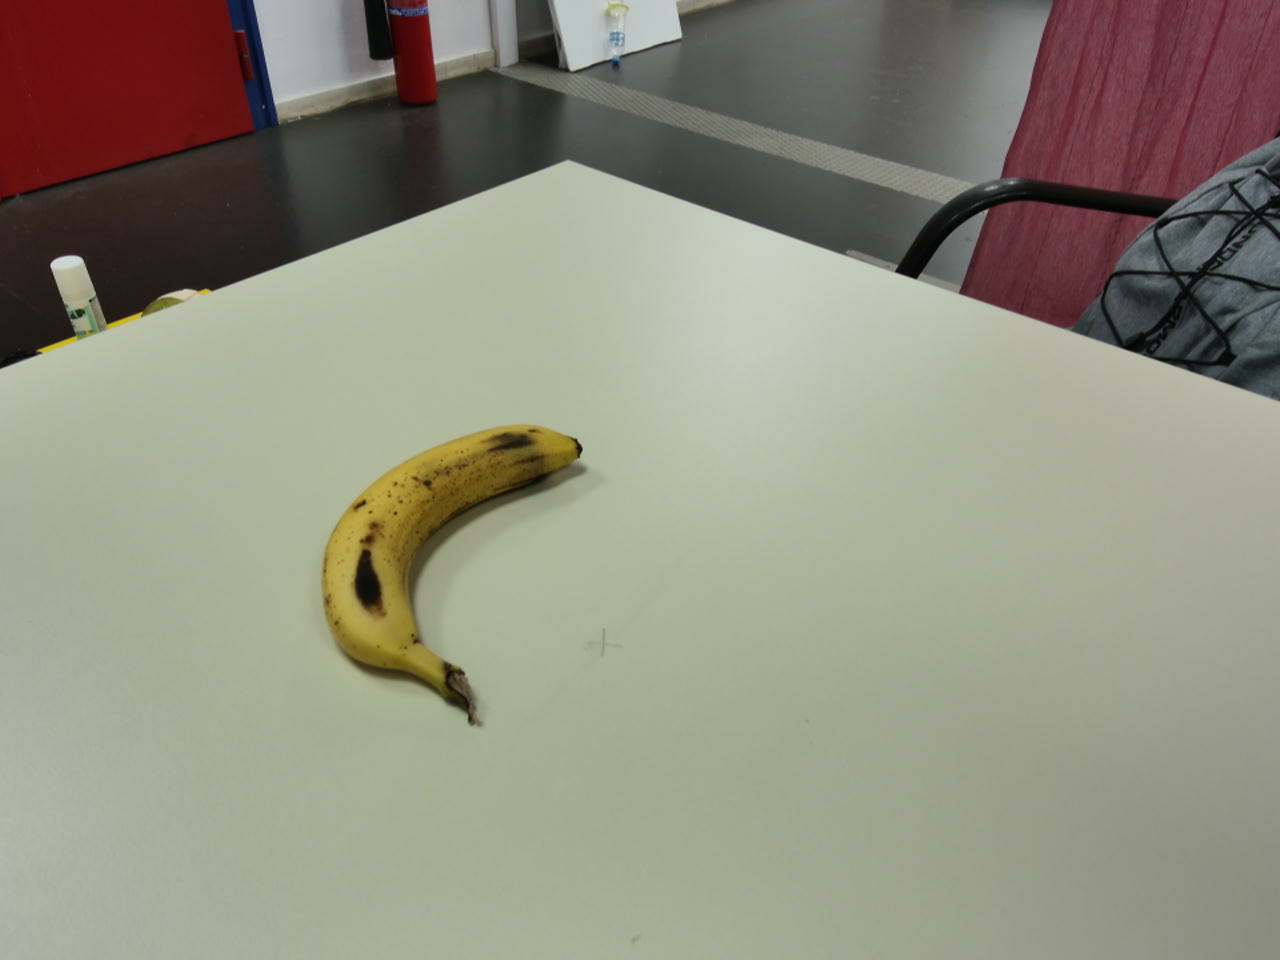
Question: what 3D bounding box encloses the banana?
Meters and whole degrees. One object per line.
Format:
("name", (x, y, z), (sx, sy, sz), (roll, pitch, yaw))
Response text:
("banana", (-0.097, 0.026, 0.499), (0.097, 0.038, 0.186), (9, 37, 9))
